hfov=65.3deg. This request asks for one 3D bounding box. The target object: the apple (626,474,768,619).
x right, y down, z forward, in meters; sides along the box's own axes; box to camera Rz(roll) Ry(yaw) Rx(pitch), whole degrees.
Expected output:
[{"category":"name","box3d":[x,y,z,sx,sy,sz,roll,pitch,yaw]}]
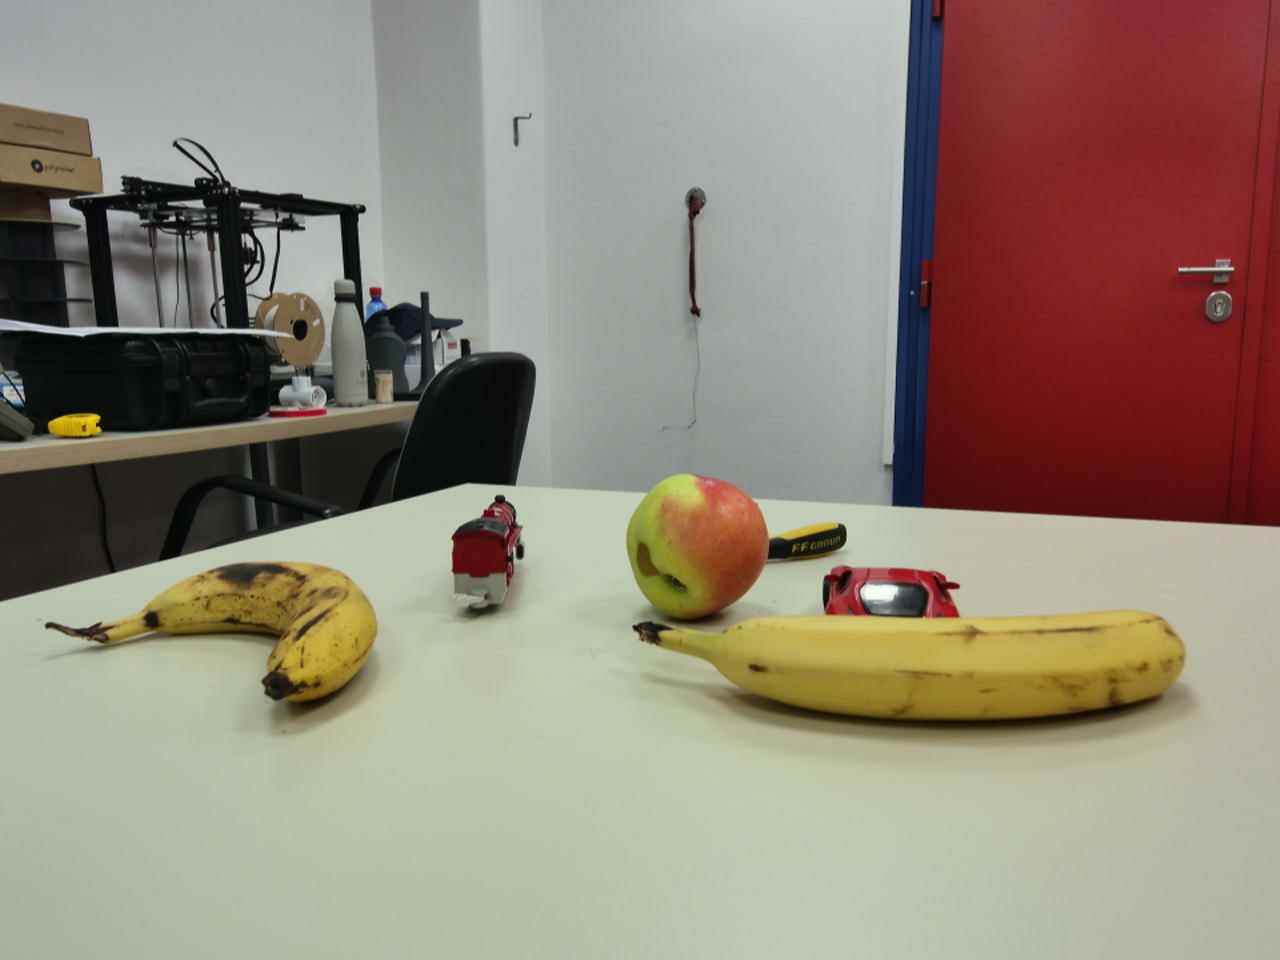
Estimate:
[{"category":"apple","box3d":[0.030,0.035,0.529,0.075,0.074,0.075,1,6,4]}]
